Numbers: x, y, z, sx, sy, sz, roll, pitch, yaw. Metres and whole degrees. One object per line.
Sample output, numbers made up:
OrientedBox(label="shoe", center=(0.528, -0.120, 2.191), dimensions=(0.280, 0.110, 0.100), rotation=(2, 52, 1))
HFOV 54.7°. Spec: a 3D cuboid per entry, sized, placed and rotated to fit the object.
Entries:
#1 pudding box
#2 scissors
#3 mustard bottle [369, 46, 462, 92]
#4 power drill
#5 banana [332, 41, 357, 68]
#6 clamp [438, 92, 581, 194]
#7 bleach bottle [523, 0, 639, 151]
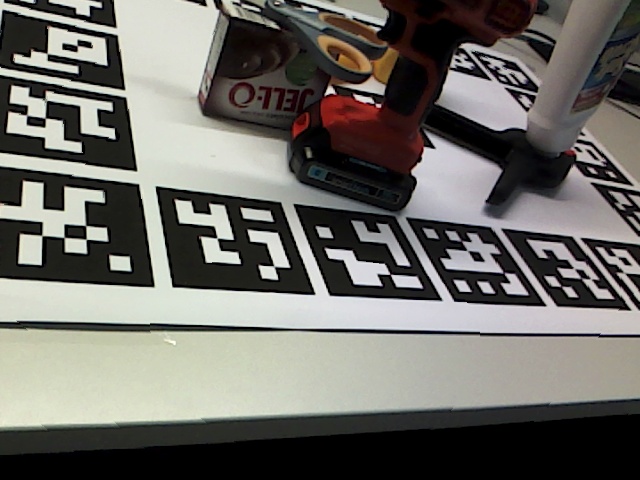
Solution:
OrientedBox(label="pudding box", center=(-0.051, -0.156, 0.573), dimensions=(0.113, 0.090, 0.039), rotation=(9, 33, -24))
OrientedBox(label="scissors", center=(-0.037, -0.207, 0.536), dimensions=(0.202, 0.016, 0.088), rotation=(25, 40, -10))
OrientedBox(label="mustard bottle", center=(0.141, -0.264, 0.747), dimensions=(0.096, 0.191, 0.058), rotation=(16, 37, -17))
OrientedBox(label="power drill", center=(0.053, -0.148, 0.497), dimensions=(0.184, 0.187, 0.057), rotation=(12, 32, -15))
OrientedBox(label="banana", center=(0.017, -0.236, 0.747), dimensions=(0.074, 0.039, 0.196), rotation=(22, 33, 23))
OrientedBox(label="clamp", center=(0.228, -0.109, 0.709), dimensions=(0.201, 0.037, 0.166), rotation=(1, 45, -33))
OrientedBox(label="bleach bottle", center=(0.294, -0.192, 0.674), dimensions=(0.102, 0.250, 0.068), rotation=(-16, 50, -34))
